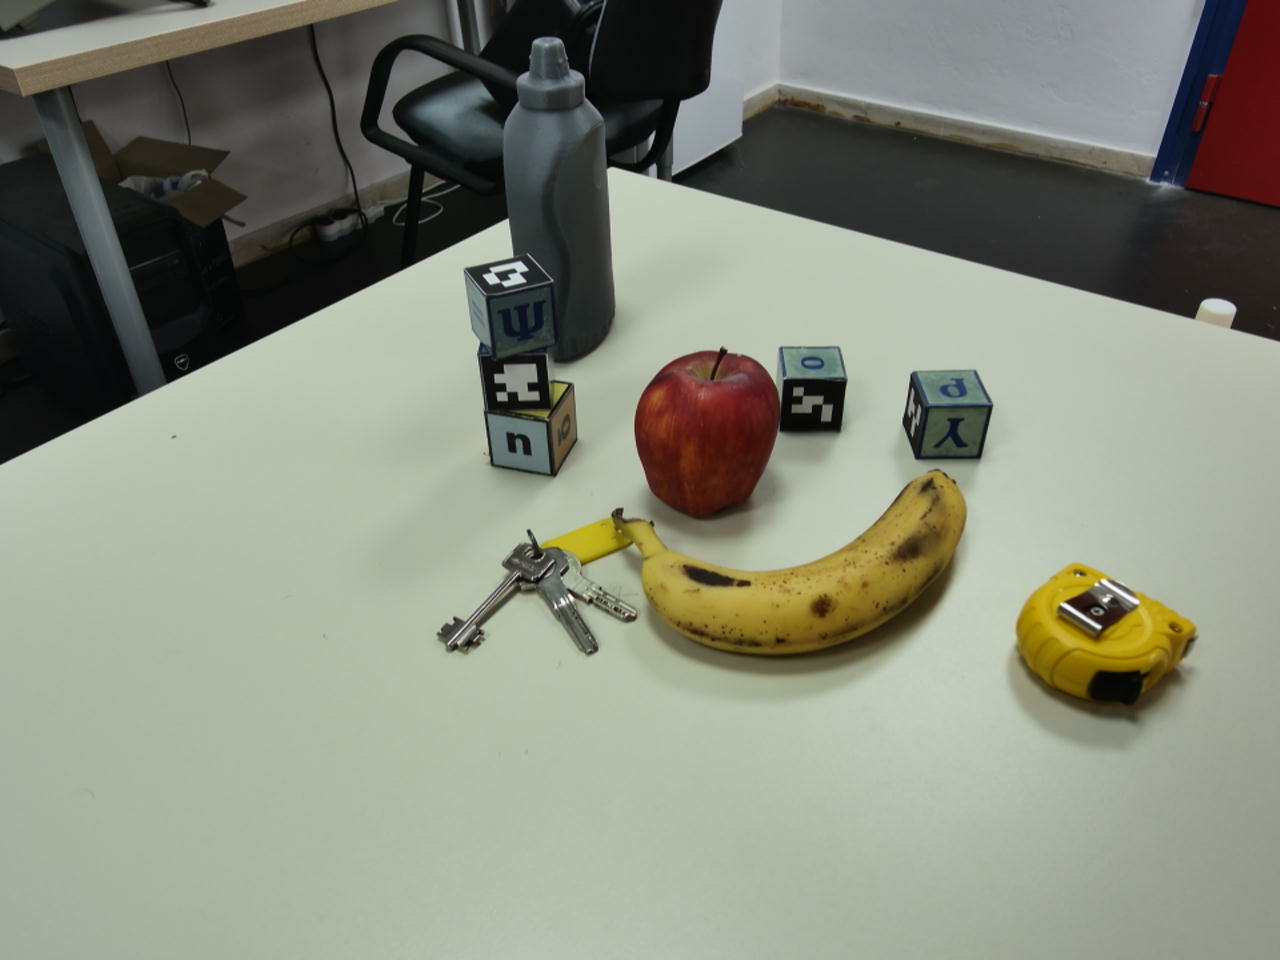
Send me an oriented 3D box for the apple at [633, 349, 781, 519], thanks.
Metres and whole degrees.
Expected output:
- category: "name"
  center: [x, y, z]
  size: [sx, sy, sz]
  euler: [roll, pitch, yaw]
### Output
- category: "apple"
  center: [0.036, -0.031, 0.530]
  size: [0.083, 0.090, 0.083]
  euler: [0, 37, 0]
